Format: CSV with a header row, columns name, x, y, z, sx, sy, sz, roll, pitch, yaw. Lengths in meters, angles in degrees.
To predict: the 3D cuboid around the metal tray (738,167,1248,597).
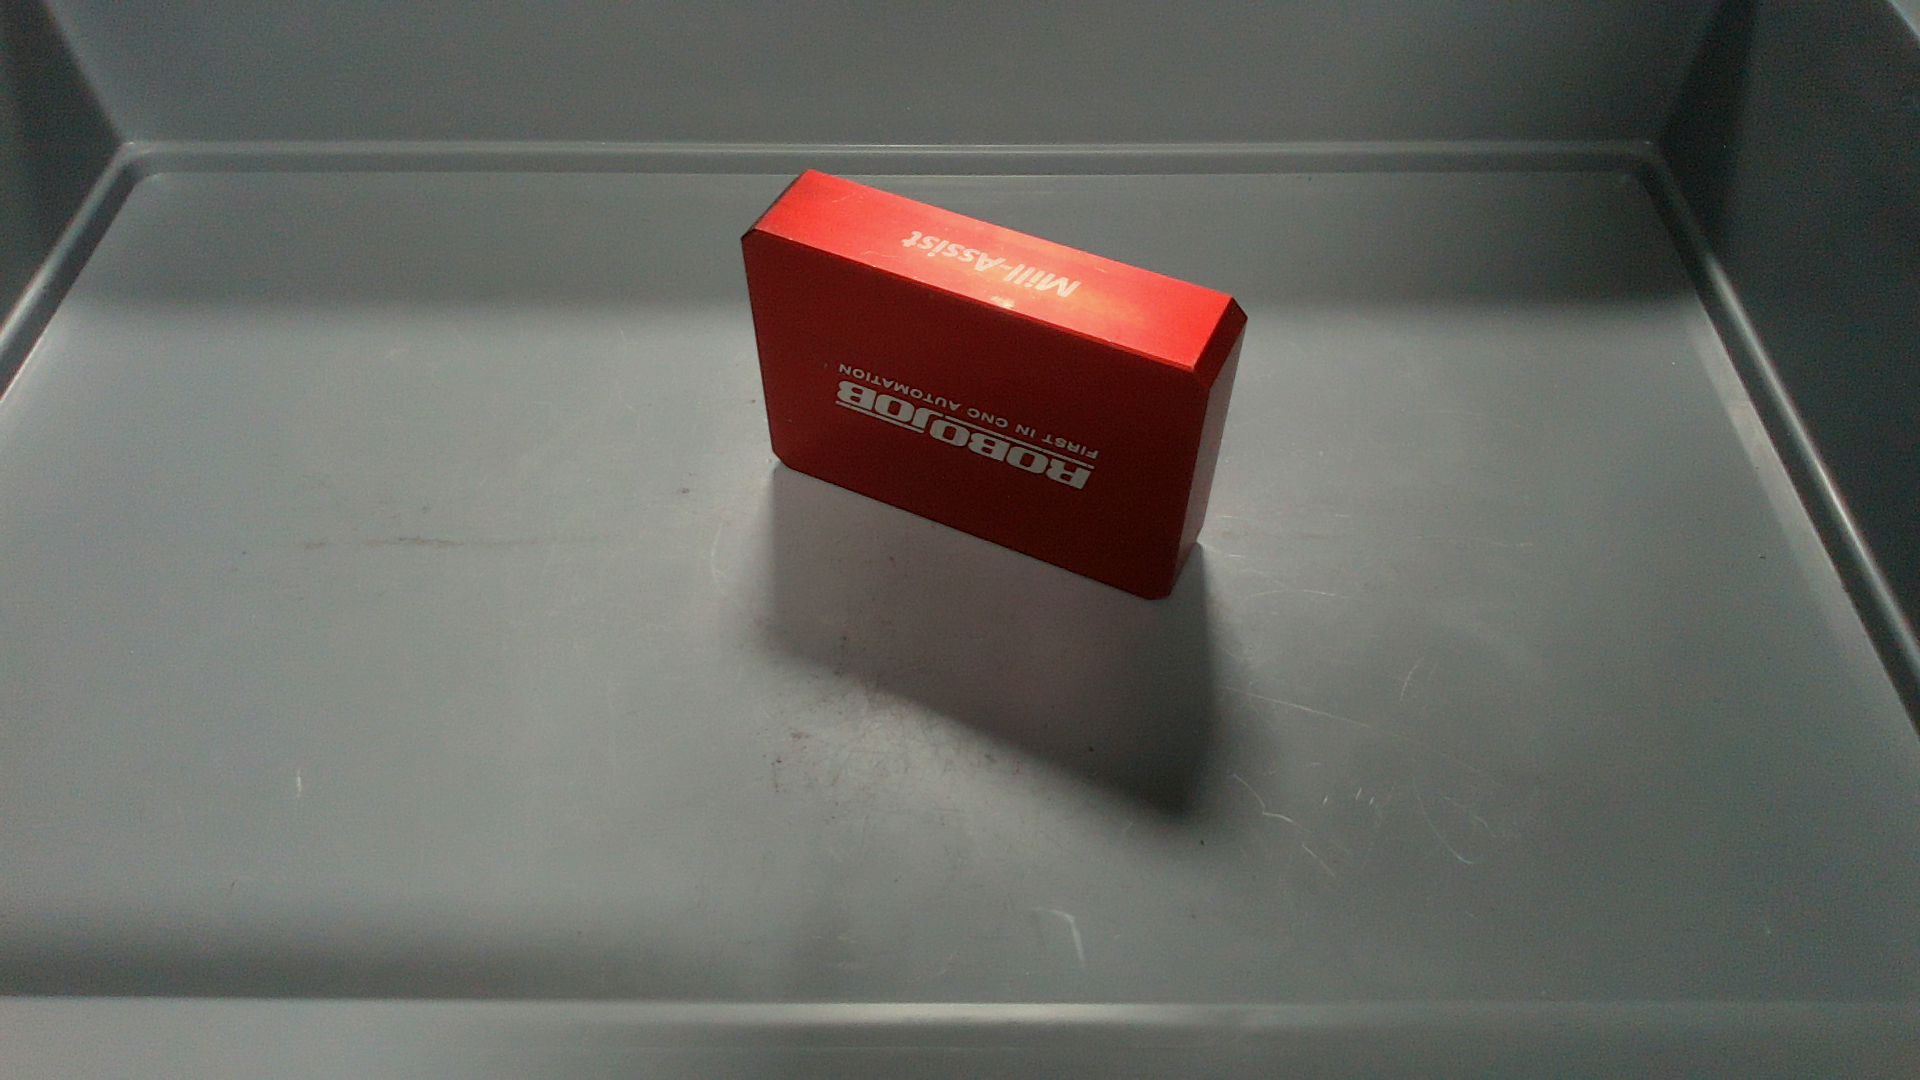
name,x,y,z,sx,sy,sz,roll,pitch,yaw
metal tray,0.007,-0.042,0.381,0.130,0.090,0.030,20,53,16
